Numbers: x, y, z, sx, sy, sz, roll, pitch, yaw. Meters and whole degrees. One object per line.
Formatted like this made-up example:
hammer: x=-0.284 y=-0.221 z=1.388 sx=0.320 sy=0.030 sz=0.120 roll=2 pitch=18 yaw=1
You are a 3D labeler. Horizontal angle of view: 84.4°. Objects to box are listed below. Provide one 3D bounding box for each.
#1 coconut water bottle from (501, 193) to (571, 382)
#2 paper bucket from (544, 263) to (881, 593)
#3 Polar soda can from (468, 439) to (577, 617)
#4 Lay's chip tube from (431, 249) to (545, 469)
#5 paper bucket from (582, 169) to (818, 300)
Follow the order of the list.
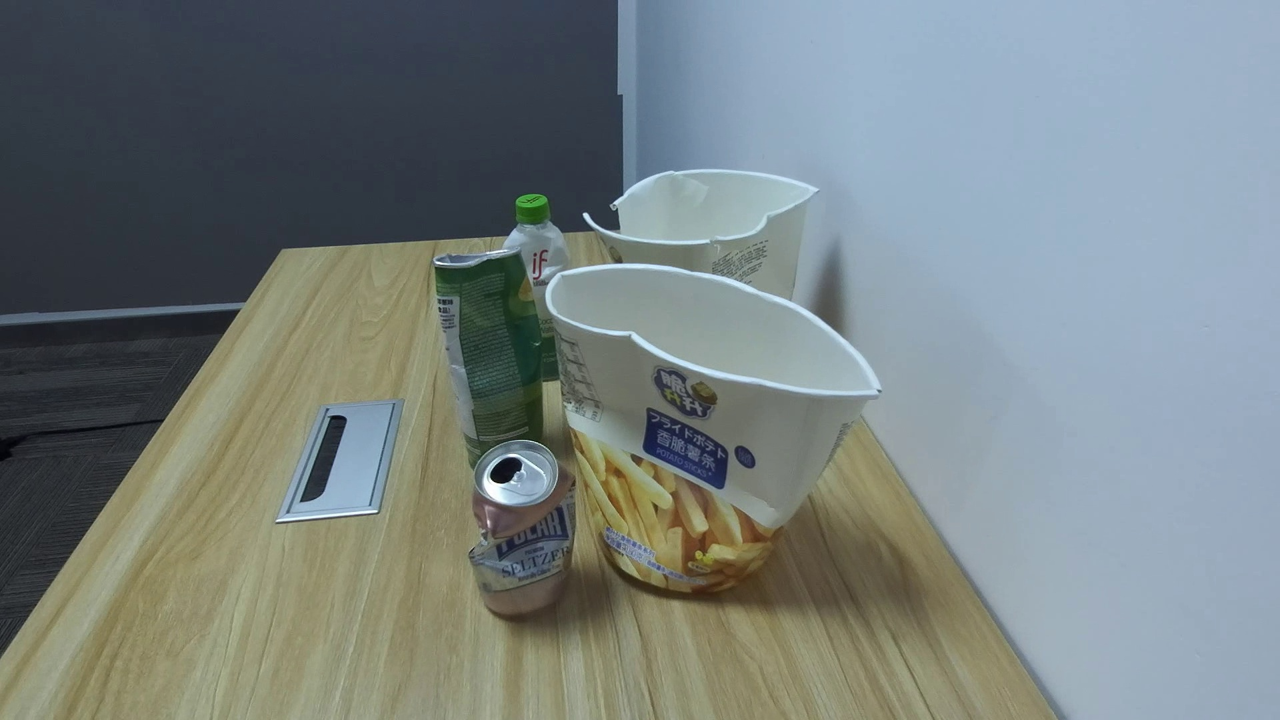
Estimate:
coconut water bottle: x=-0.099 y=-0.067 z=0.699 sx=0.067 sy=0.187 sz=0.067 roll=-2 pitch=20 yaw=1
paper bucket: x=0.037 y=0.052 z=0.510 sx=0.218 sy=0.199 sz=0.147 roll=2 pitch=36 yaw=5
Polar soda can: x=-0.082 y=0.120 z=0.488 sx=0.066 sy=0.122 sz=0.071 roll=16 pitch=37 yaw=14
Lay's chip tube: x=-0.123 y=0.000 z=0.600 sx=0.079 sy=0.199 sz=0.071 roll=-9 pitch=26 yaw=-15
paper bucket: x=0.063 y=-0.067 z=0.688 sx=0.145 sy=0.197 sz=0.203 roll=20 pitch=38 yaw=32
